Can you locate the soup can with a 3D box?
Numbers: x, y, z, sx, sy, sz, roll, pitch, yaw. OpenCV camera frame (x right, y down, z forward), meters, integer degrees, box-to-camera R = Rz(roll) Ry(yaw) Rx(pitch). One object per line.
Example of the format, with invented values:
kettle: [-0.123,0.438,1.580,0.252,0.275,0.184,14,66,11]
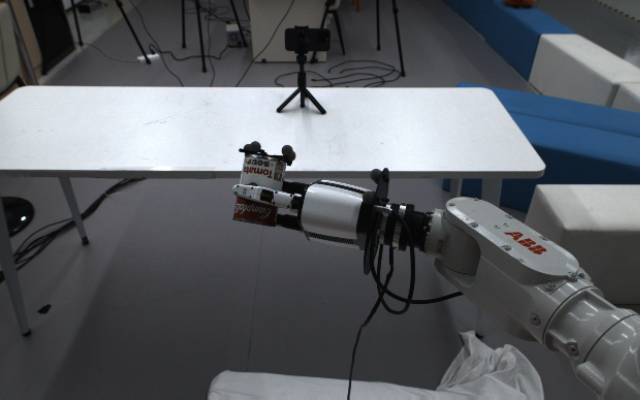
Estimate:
soup can: [-0.093,-0.012,0.750,0.067,0.101,0.067,9,-5,1]
